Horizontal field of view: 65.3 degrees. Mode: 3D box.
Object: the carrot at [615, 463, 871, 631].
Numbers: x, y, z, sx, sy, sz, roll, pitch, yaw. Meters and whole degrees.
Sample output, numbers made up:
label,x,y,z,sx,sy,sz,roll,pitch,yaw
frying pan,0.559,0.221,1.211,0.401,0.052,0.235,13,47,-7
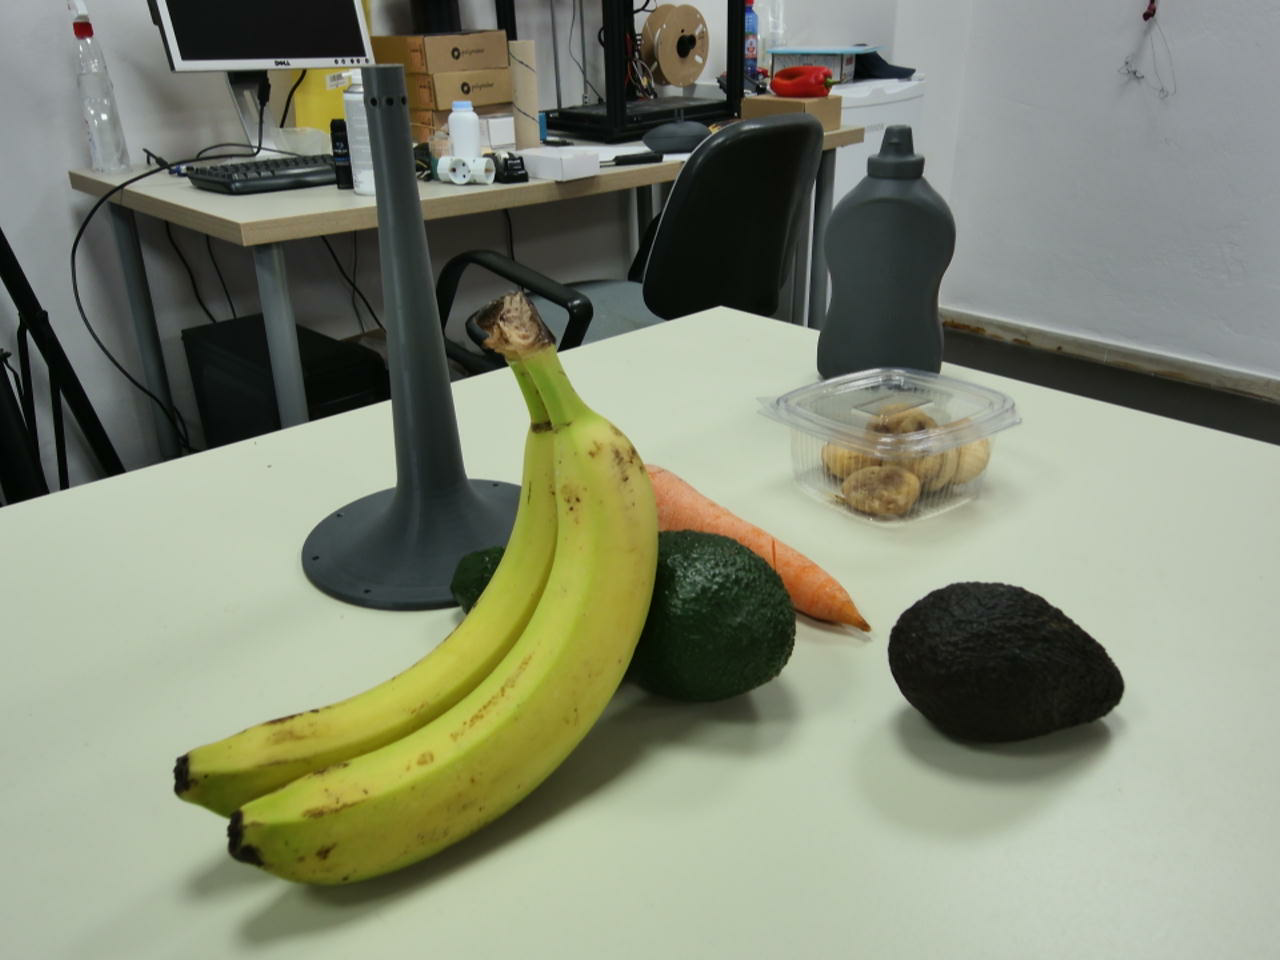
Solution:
label,x,y,z,sx,sy,sz,roll,pitch,yaw
carrot,0.056,0.033,0.579,0.039,0.041,0.196,-19,30,-38
